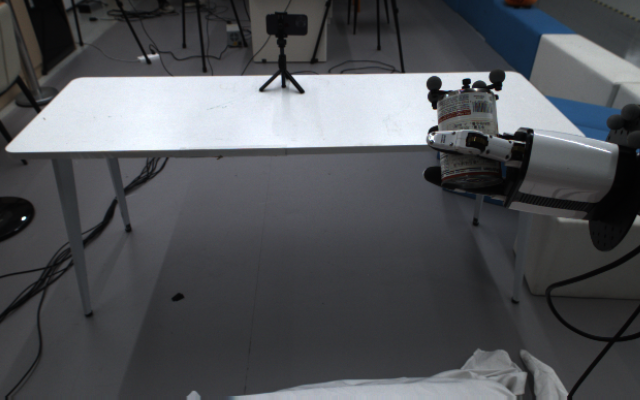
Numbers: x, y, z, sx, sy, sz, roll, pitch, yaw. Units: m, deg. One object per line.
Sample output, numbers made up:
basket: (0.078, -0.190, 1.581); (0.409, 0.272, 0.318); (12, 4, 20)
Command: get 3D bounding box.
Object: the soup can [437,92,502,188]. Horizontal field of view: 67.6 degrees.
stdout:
soup can: (0.173, -0.069, 0.557); (0.067, 0.101, 0.067); (-1, -9, 0)
